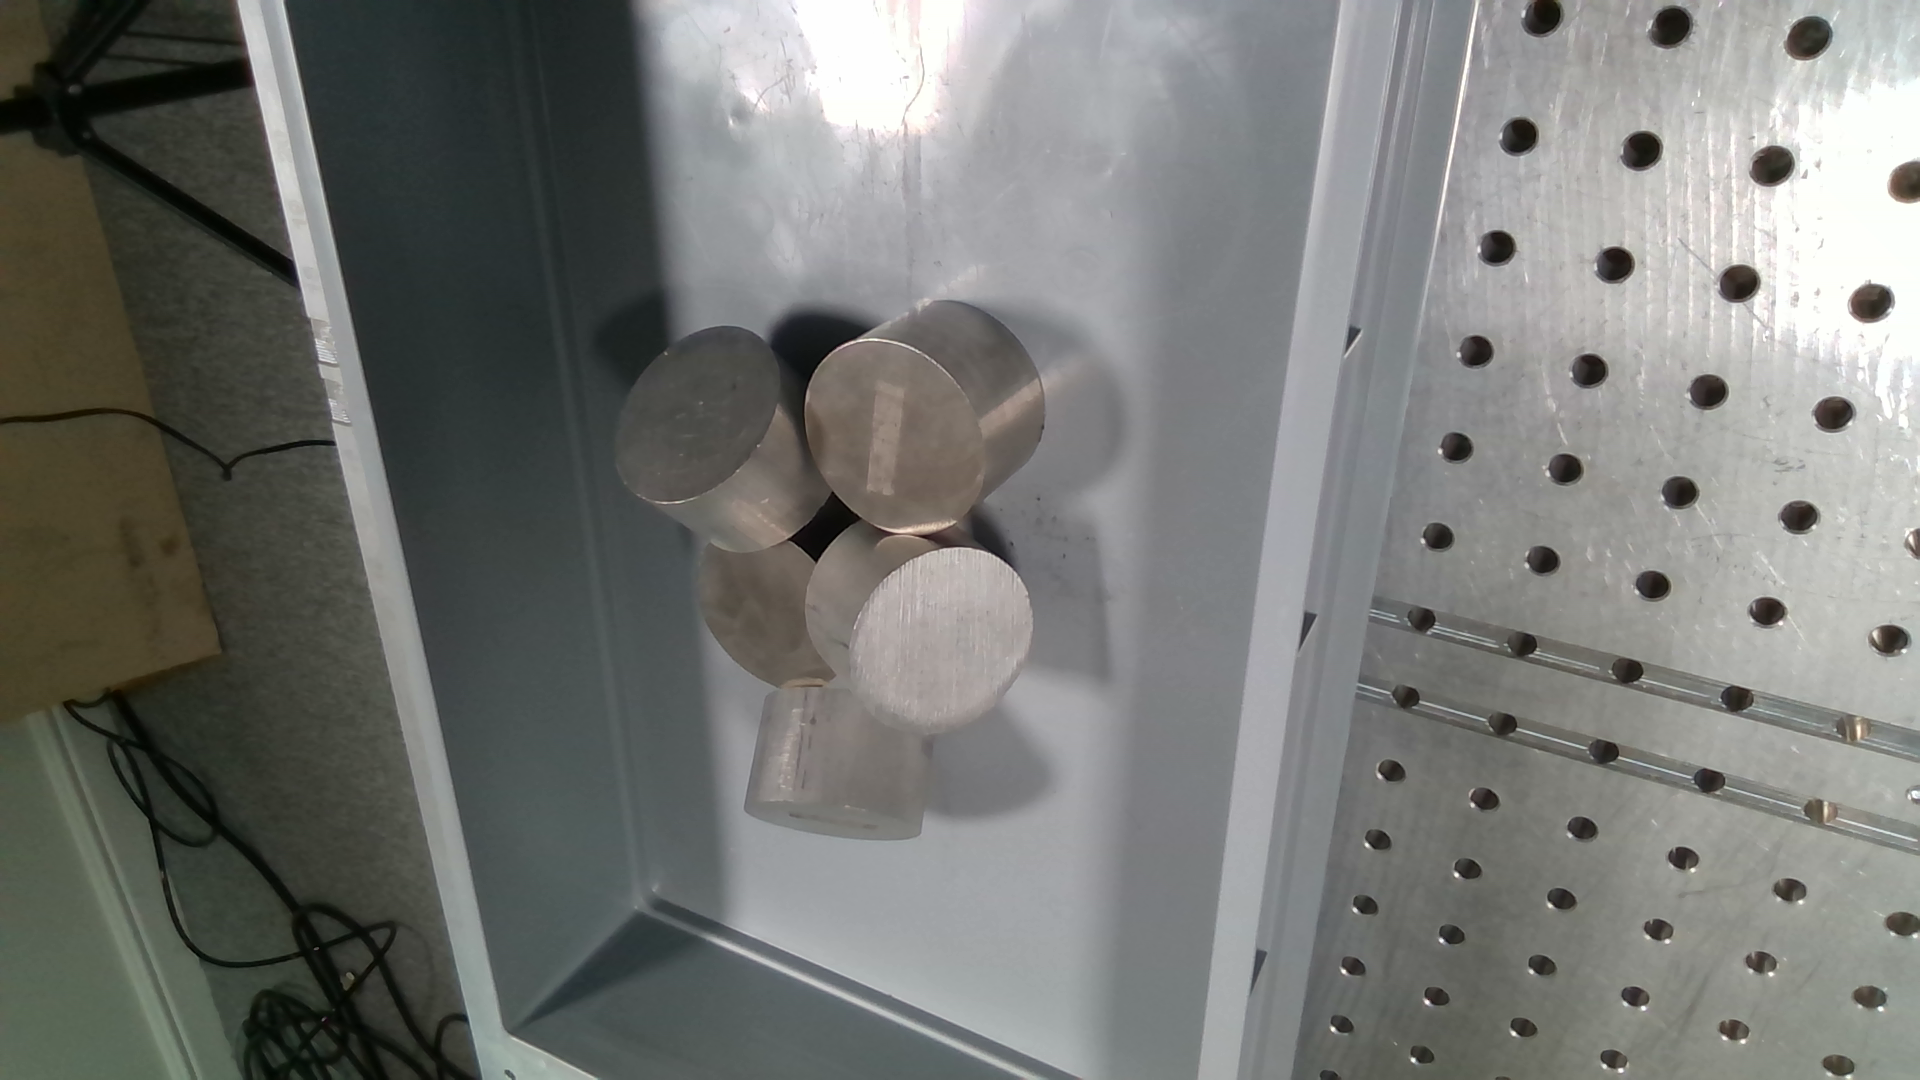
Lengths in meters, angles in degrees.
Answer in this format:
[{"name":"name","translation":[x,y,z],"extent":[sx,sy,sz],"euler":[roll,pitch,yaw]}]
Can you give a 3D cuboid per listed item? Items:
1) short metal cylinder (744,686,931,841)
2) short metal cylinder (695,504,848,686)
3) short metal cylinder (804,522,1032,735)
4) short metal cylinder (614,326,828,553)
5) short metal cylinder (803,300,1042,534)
[{"name":"short metal cylinder","translation":[-0.054,0.103,0.625],"extent":[0.080,0.050,0.080],"euler":[7,158,3]},{"name":"short metal cylinder","translation":[-0.071,0.020,0.617],"extent":[0.080,0.050,0.080],"euler":[14,122,25]},{"name":"short metal cylinder","translation":[-0.018,0.032,0.562],"extent":[0.050,0.080,0.080],"euler":[37,140,57]},{"name":"short metal cylinder","translation":[-0.095,-0.041,0.570],"extent":[0.080,0.080,0.050],"euler":[3,159,30]},{"name":"short metal cylinder","translation":[-0.015,-0.049,0.543],"extent":[0.080,0.050,0.080],"euler":[14,122,25]}]
